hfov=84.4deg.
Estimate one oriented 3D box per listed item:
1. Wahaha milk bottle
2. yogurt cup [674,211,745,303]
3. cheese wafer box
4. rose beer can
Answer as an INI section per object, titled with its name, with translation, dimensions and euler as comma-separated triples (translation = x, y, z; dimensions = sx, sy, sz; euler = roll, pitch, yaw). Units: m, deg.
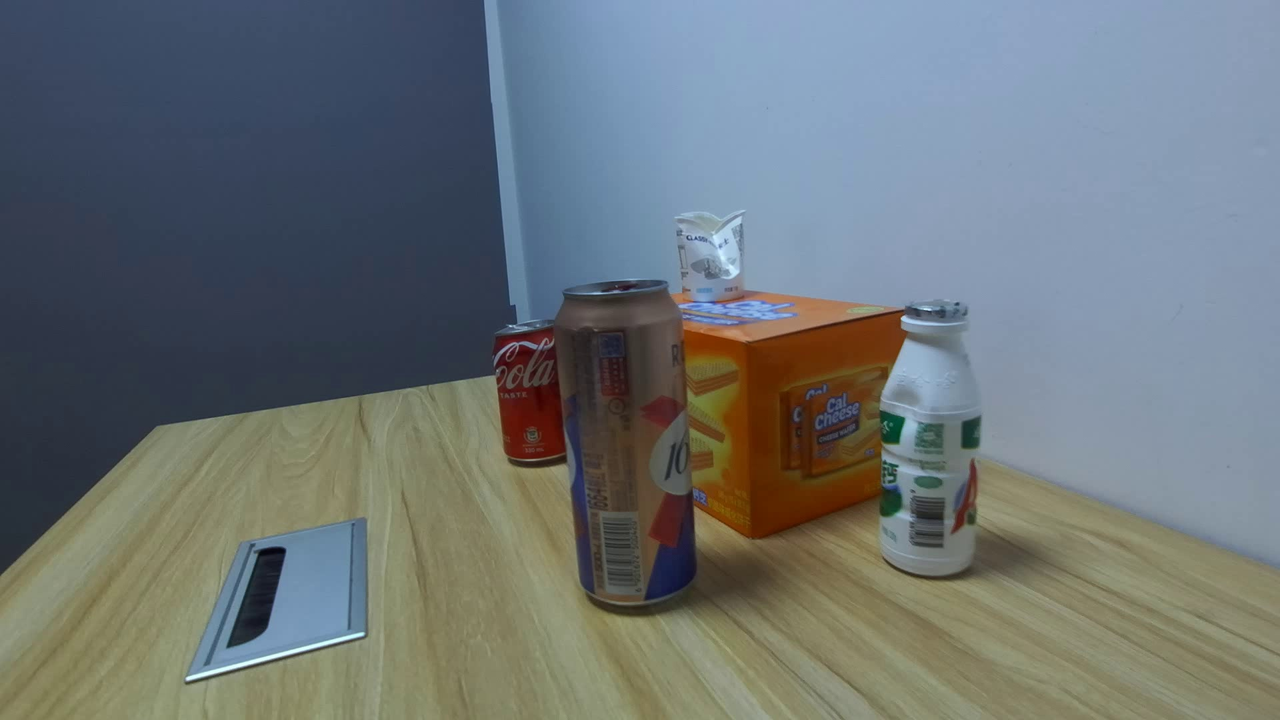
[Wahaha milk bottle]
translation = 0.157, 0.048, 0.385
dimensions = 0.053, 0.136, 0.053
euler = -3, 14, 1
[yogurt cup]
translation = 0.061, -0.089, 0.597
dimensions = 0.054, 0.072, 0.055
euler = 1, 15, 17
[cheese wafer box]
translation = 0.076, 0.023, 0.546
dimensions = 0.149, 0.129, 0.221
euler = -11, 15, -27
[rose beer can]
translation = -0.006, 0.046, 0.380
dimensions = 0.068, 0.169, 0.068
euler = -5, 12, 1
